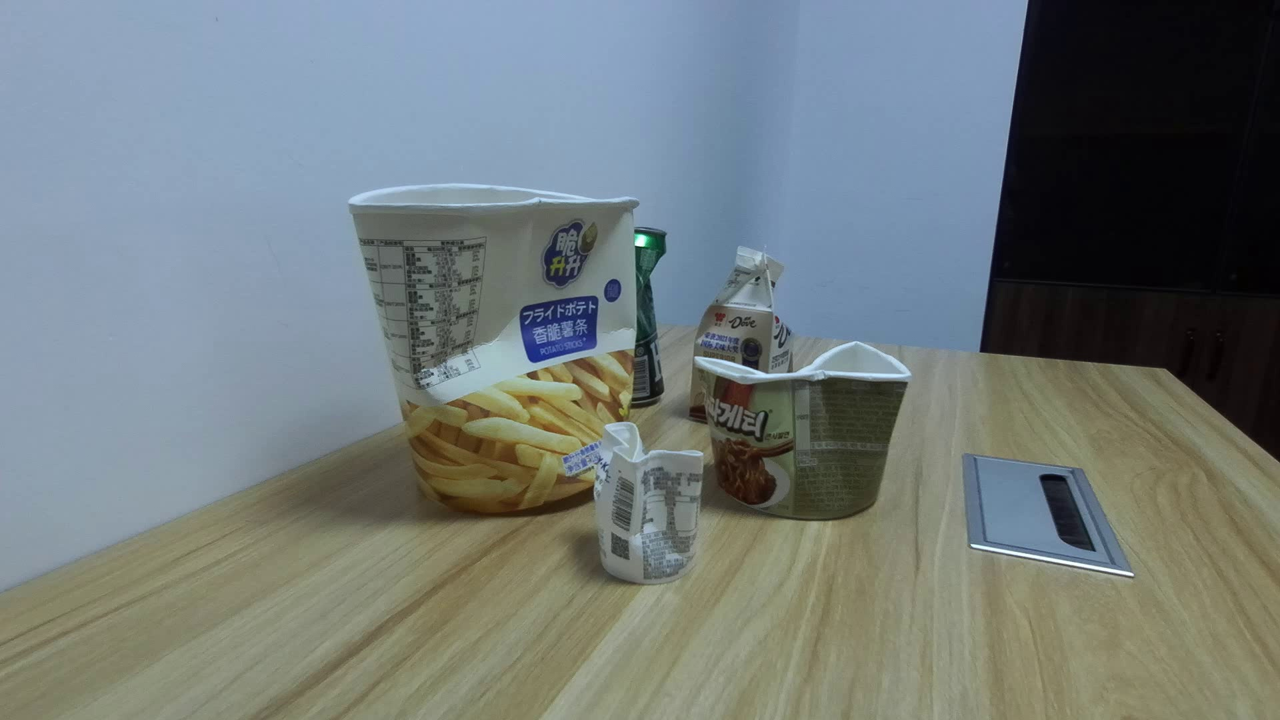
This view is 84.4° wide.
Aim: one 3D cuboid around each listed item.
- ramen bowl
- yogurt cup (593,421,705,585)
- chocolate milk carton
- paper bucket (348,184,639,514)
[{"bbox_3d":[0.101,0.042,0.475,0.128,0.093,0.111,-1,14,-5],"label":"ramen bowl"},{"bbox_3d":[0.003,0.075,0.380,0.055,0.072,0.054,-5,17,-10],"label":"yogurt cup"},{"bbox_3d":[0.095,-0.023,0.610,0.073,0.155,0.076,11,18,30],"label":"chocolate milk carton"},{"bbox_3d":[-0.079,-0.016,0.482,0.147,0.199,0.218,3,15,4],"label":"paper bucket"}]
